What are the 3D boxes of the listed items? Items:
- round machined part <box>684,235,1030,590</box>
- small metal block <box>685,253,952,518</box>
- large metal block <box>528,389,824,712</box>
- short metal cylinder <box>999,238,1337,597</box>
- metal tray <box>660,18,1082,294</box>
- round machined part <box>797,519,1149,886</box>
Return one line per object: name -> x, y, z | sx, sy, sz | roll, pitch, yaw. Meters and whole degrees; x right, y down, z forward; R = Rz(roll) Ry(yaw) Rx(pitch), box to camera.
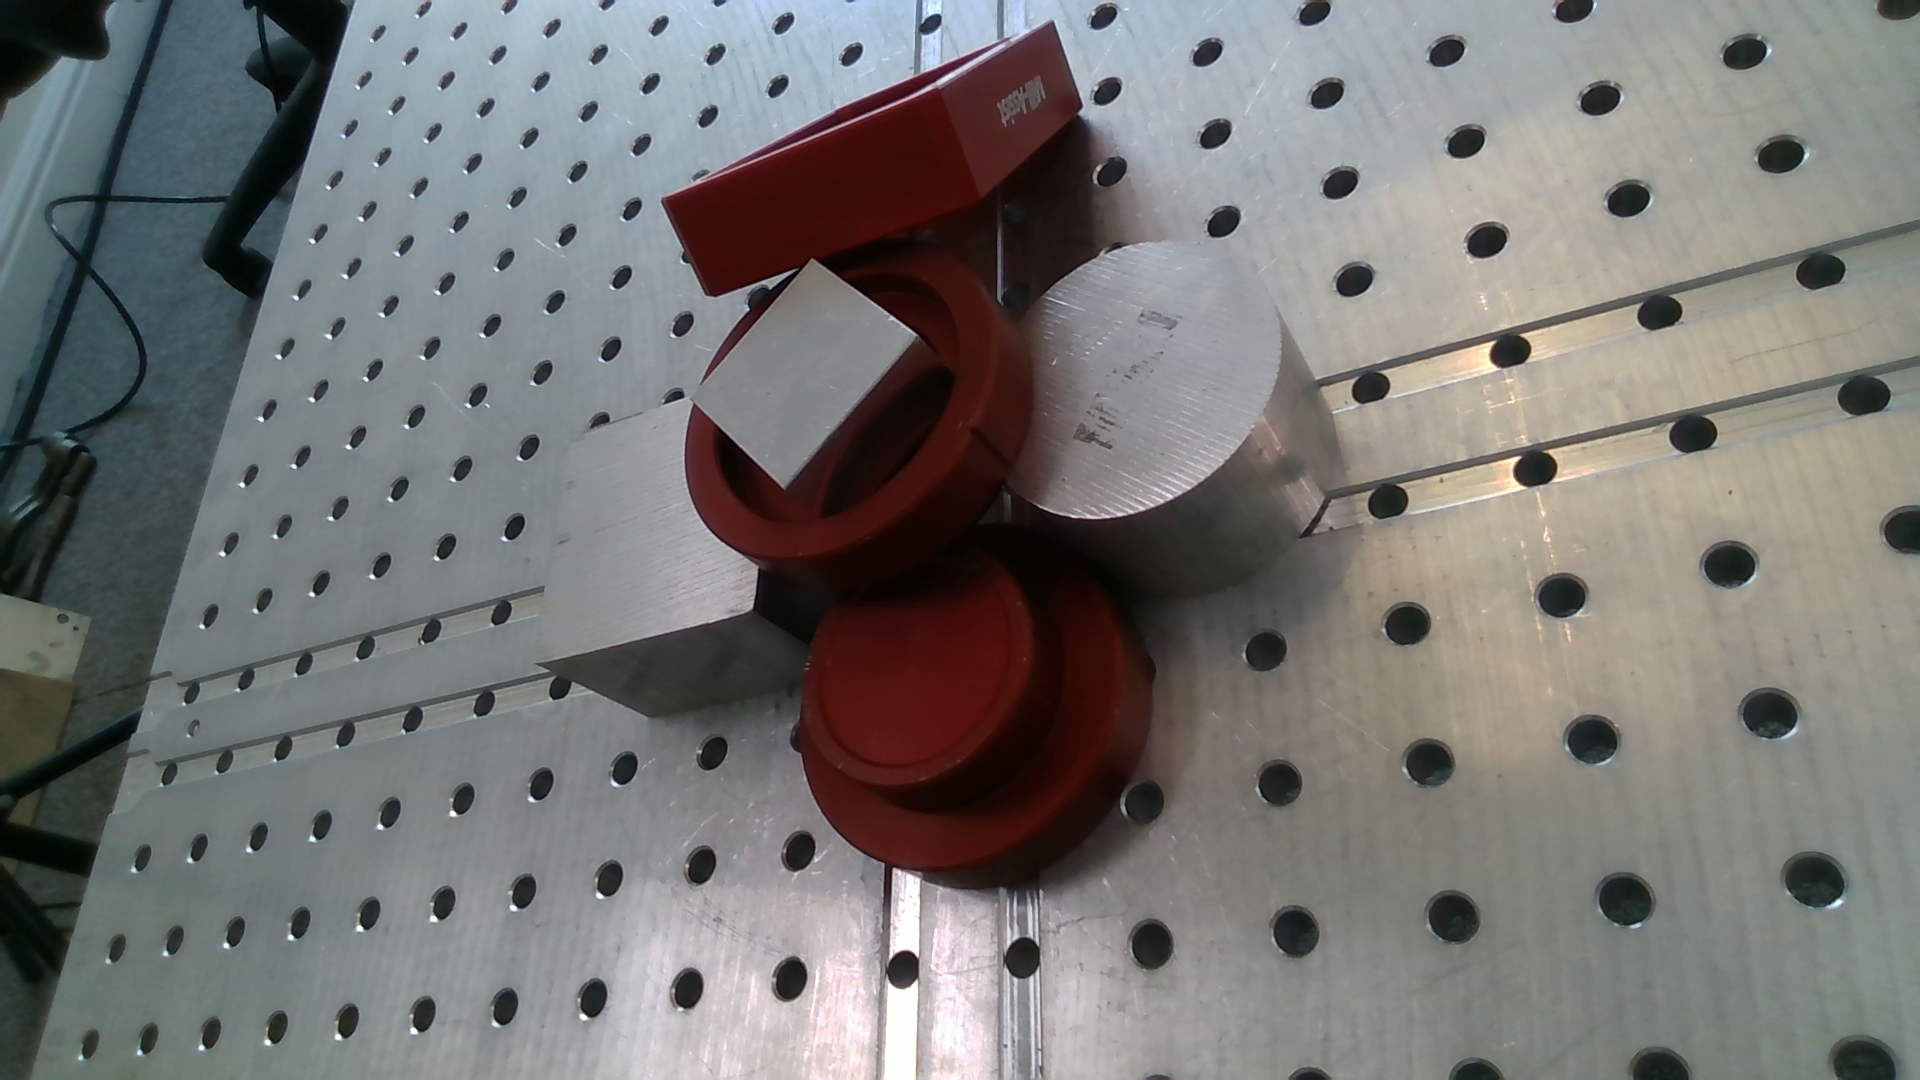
round machined part -> -0.024, -0.031, 0.379 | 0.098, 0.042, 0.098 | -14, 59, 25
small metal block -> -0.036, -0.040, 0.359 | 0.050, 0.025, 0.050 | -49, 51, 0
large metal block -> -0.079, 0.001, 0.424 | 0.080, 0.050, 0.080 | -14, 59, 25
short metal cylinder -> 0.053, -0.032, 0.363 | 0.080, 0.050, 0.080 | -14, 59, 25
metal tray -> -0.022, -0.121, 0.424 | 0.090, 0.030, 0.130 | -14, 22, 26
round machined part -> -0.003, 0.038, 0.365 | 0.098, 0.042, 0.098 | -14, 59, 25
